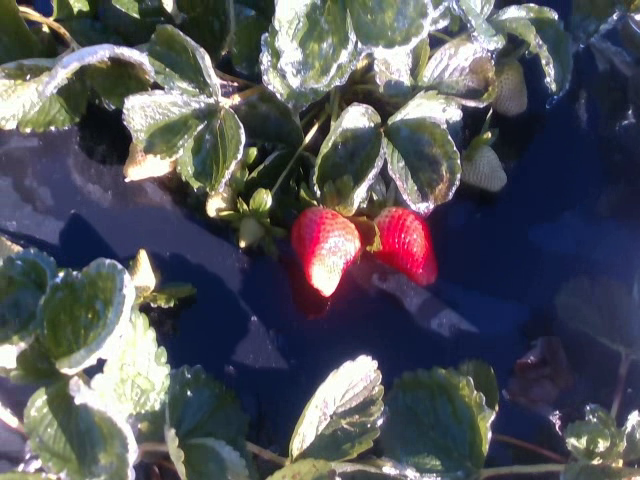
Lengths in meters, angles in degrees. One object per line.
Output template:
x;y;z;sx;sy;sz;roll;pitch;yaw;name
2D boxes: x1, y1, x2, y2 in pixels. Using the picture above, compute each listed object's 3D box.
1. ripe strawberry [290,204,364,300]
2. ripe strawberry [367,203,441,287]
0.007;0.010;0.395;0.052;0.070;0.040;14;-15;-18;ripe strawberry
0.061;0.001;0.398;0.043;0.059;0.040;-34;-1;-13;ripe strawberry
